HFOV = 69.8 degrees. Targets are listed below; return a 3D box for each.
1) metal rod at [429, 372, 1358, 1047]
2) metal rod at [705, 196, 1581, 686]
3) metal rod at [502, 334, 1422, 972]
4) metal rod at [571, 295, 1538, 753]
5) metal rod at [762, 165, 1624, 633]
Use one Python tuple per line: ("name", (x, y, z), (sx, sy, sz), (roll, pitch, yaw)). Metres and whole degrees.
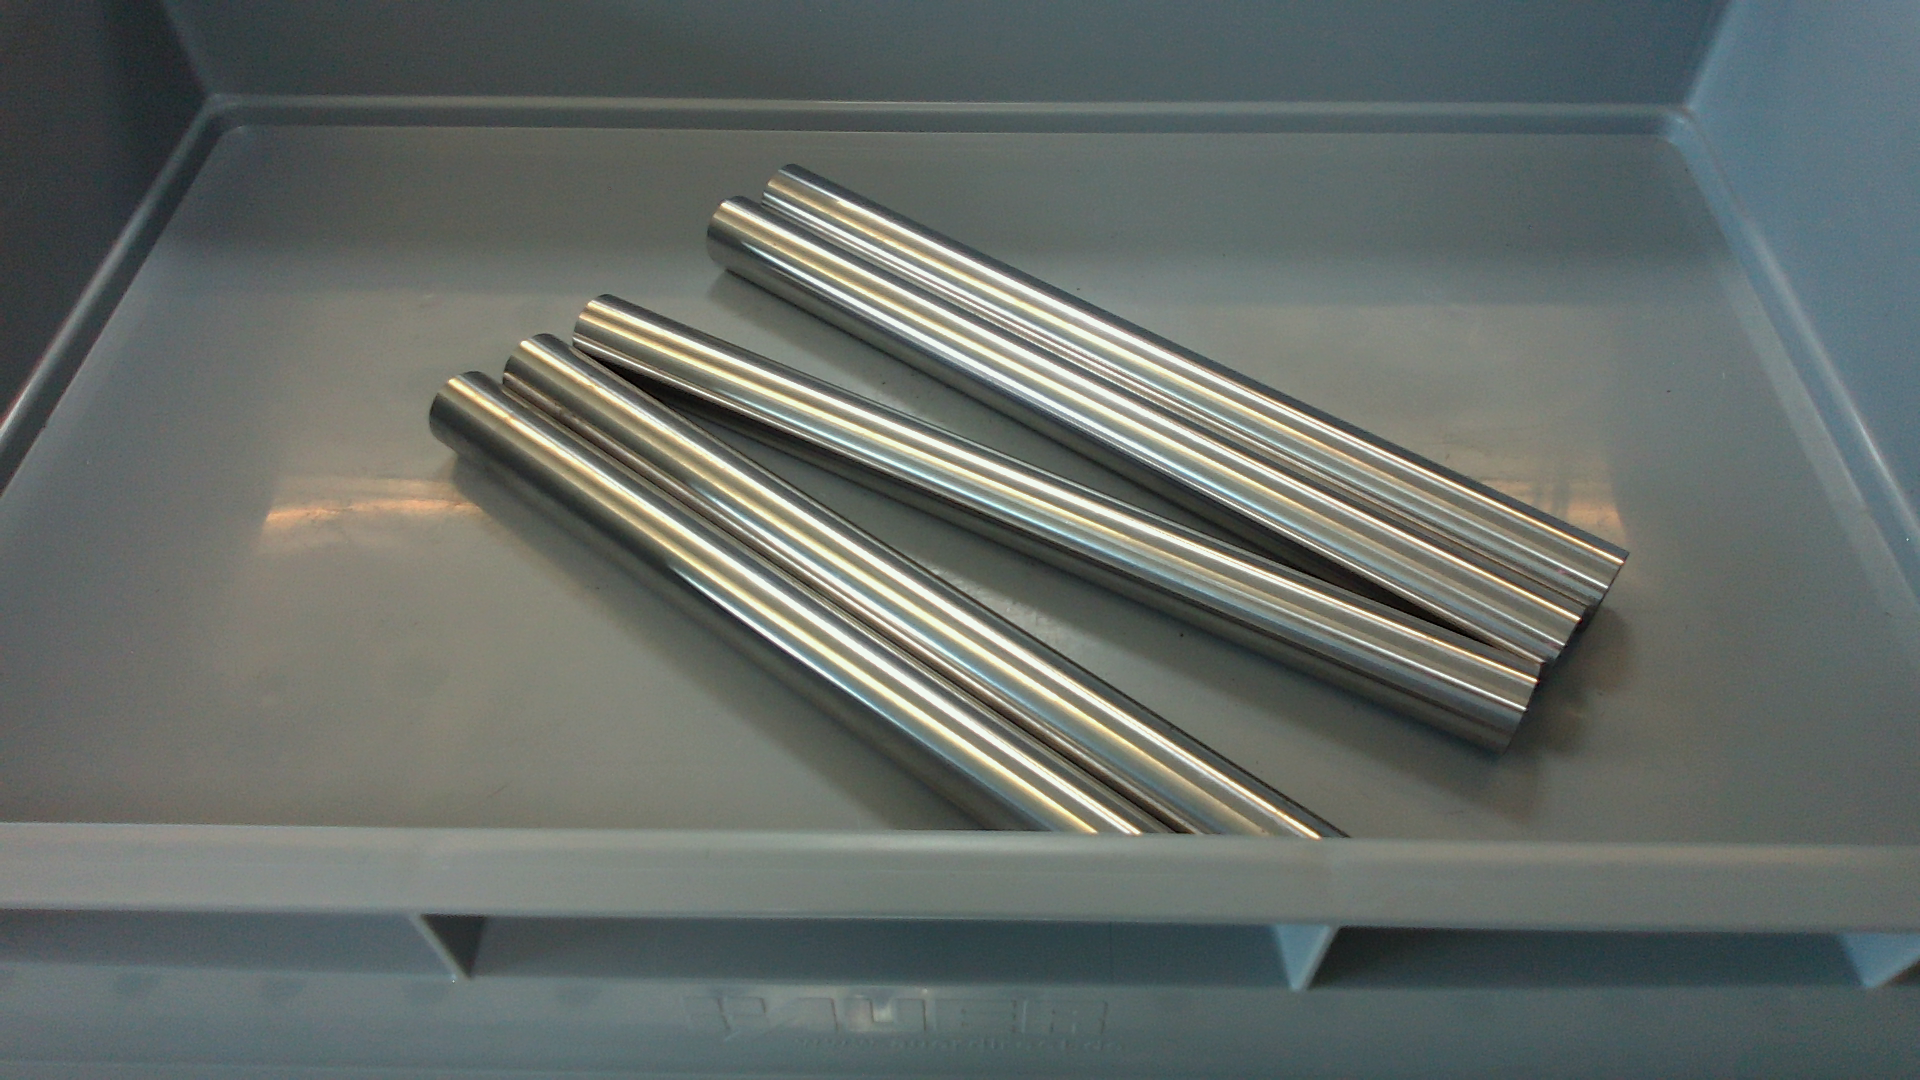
("metal rod", (-0.036, 0.031, 0.365), (0.299, 0.025, 0.025), (31, 57, 24))
("metal rod", (0.040, -0.040, 0.424), (0.299, 0.025, 0.025), (30, 56, 23))
("metal rod", (-0.018, 0.017, 0.376), (0.299, 0.025, 0.025), (31, 57, 24))
("metal rod", (0.013, -0.012, 0.401), (0.299, 0.025, 0.025), (23, 54, 18))
("metal rod", (0.057, -0.054, 0.436), (0.299, 0.025, 0.025), (30, 56, 23))
